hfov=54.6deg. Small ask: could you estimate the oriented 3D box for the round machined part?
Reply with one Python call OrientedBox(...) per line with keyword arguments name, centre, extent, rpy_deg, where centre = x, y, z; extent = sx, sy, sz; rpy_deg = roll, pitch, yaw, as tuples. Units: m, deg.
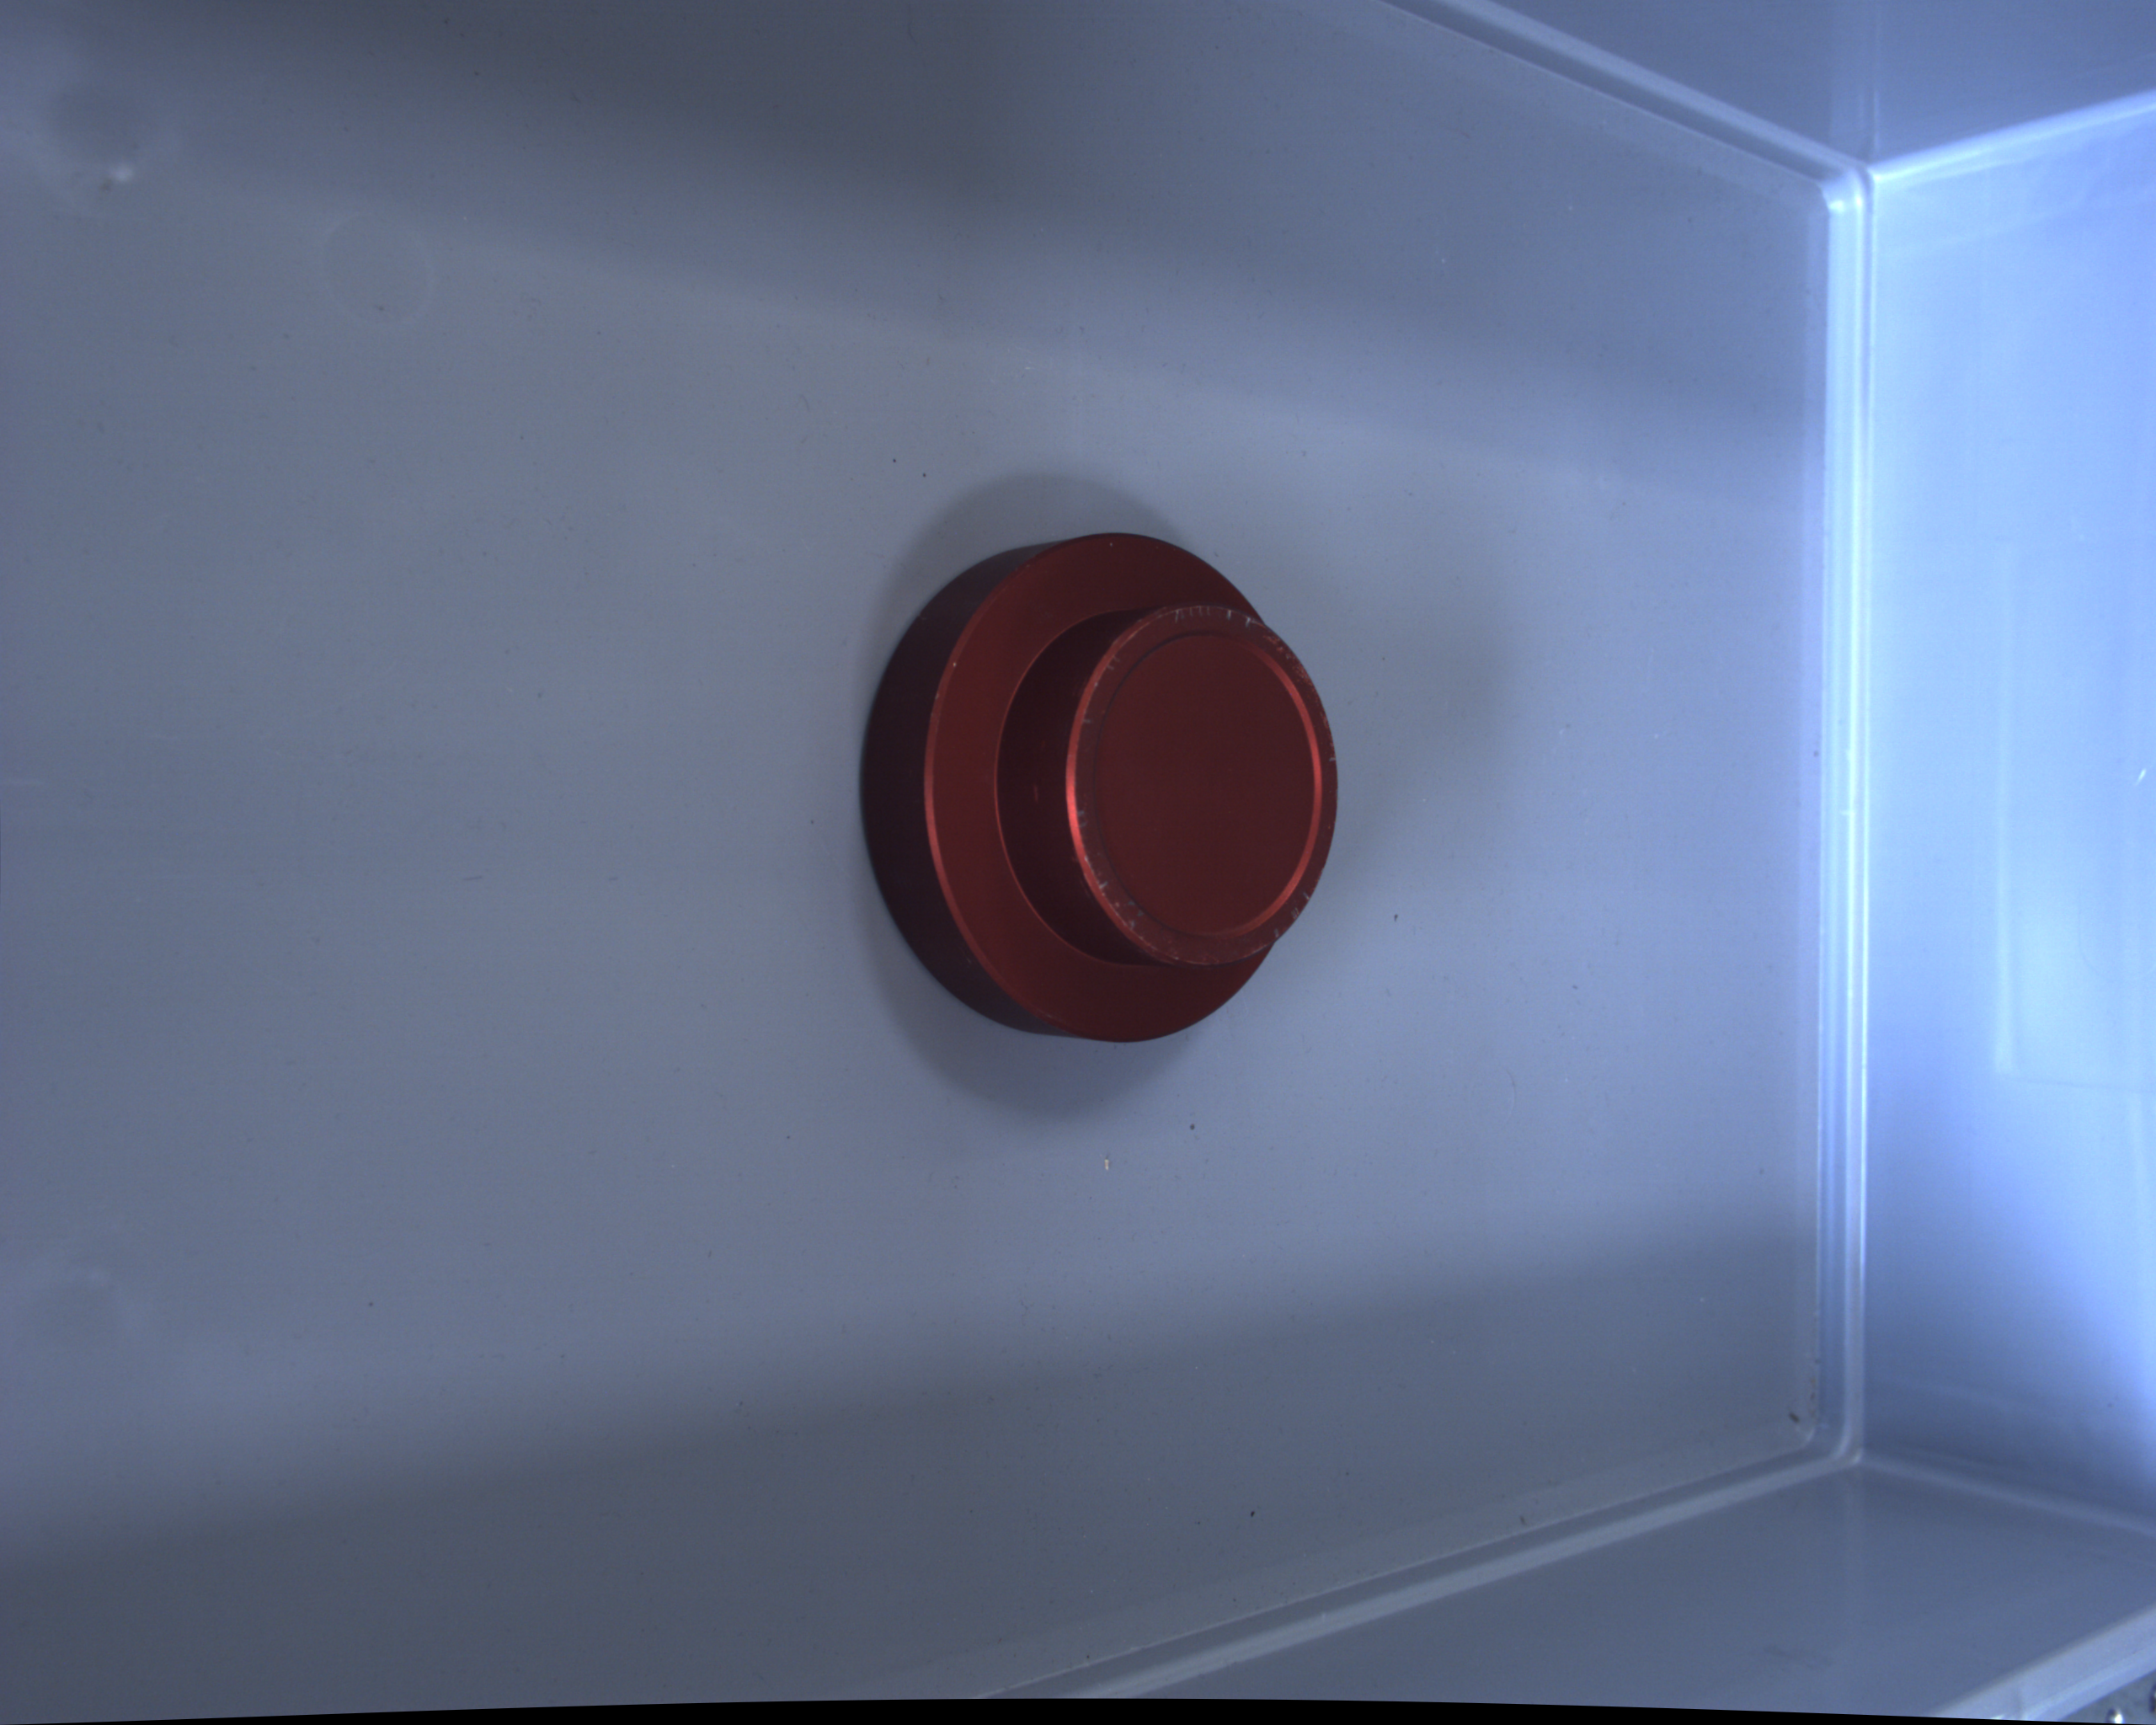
OrientedBox(name="round machined part", centre=(0.012, -0.014, 0.400), extent=(0.099, 0.042, 0.097), rpy_deg=(0, 90, -40))
